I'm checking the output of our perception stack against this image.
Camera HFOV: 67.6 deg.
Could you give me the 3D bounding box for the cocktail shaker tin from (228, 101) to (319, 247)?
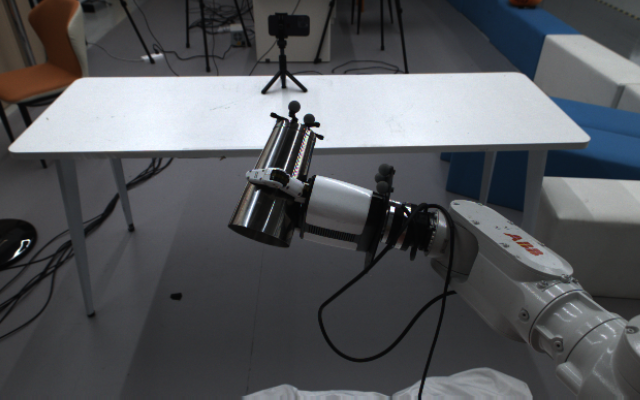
[{"bbox_3d":[-0.063,-0.026,0.704,0.093,0.093,0.170,14,74,16],"label":"cocktail shaker tin"}]
